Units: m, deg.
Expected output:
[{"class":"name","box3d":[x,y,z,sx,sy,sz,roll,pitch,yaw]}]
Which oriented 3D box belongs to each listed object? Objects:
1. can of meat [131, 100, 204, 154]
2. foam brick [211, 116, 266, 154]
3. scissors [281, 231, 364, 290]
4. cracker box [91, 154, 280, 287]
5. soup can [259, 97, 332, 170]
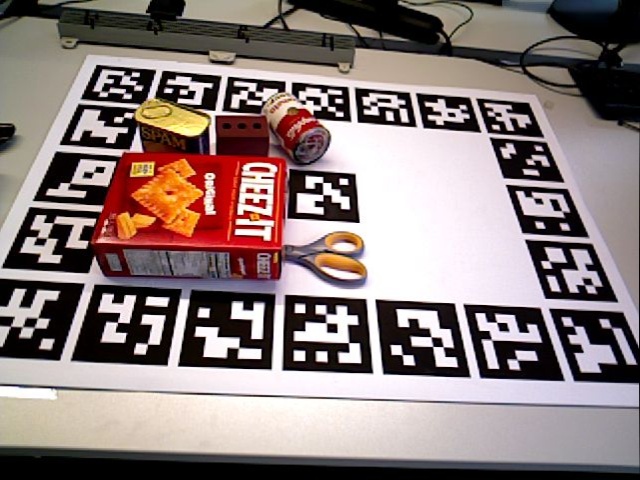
[{"class":"can of meat","box3d":[-0.212,-0.139,0.754,0.101,0.086,0.056,15,52,4]},{"class":"foam brick","box3d":[-0.120,-0.145,0.796,0.077,0.052,0.052,-4,53,-11]},{"class":"scissors","box3d":[-0.048,0.025,0.680,0.201,0.016,0.086,0,53,-7]},{"class":"cracker box","box3d":[-0.158,-0.031,0.668,0.212,0.073,0.162,-2,52,-5]},{"class":"soup can","box3d":[-0.039,-0.161,0.818,0.066,0.069,0.102,-28,55,-26]}]
